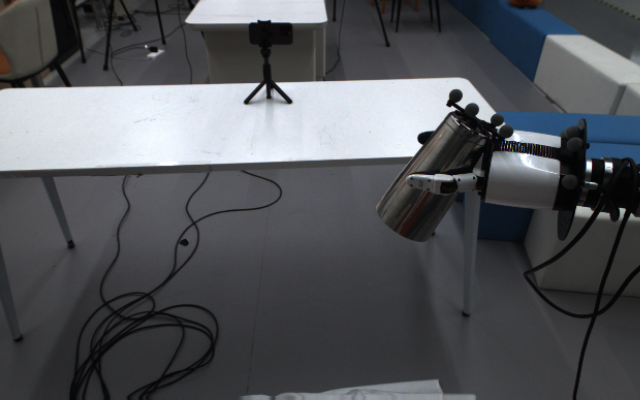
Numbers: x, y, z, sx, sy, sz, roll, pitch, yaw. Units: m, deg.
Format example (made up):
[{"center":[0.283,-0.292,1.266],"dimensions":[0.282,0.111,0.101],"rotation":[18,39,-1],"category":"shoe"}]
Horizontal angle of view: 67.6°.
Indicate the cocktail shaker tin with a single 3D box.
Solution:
[{"center":[0.162,-0.039,0.681],"dimensions":[0.093,0.170,0.093],"rotation":[25,28,-15],"category":"cocktail shaker tin"}]
